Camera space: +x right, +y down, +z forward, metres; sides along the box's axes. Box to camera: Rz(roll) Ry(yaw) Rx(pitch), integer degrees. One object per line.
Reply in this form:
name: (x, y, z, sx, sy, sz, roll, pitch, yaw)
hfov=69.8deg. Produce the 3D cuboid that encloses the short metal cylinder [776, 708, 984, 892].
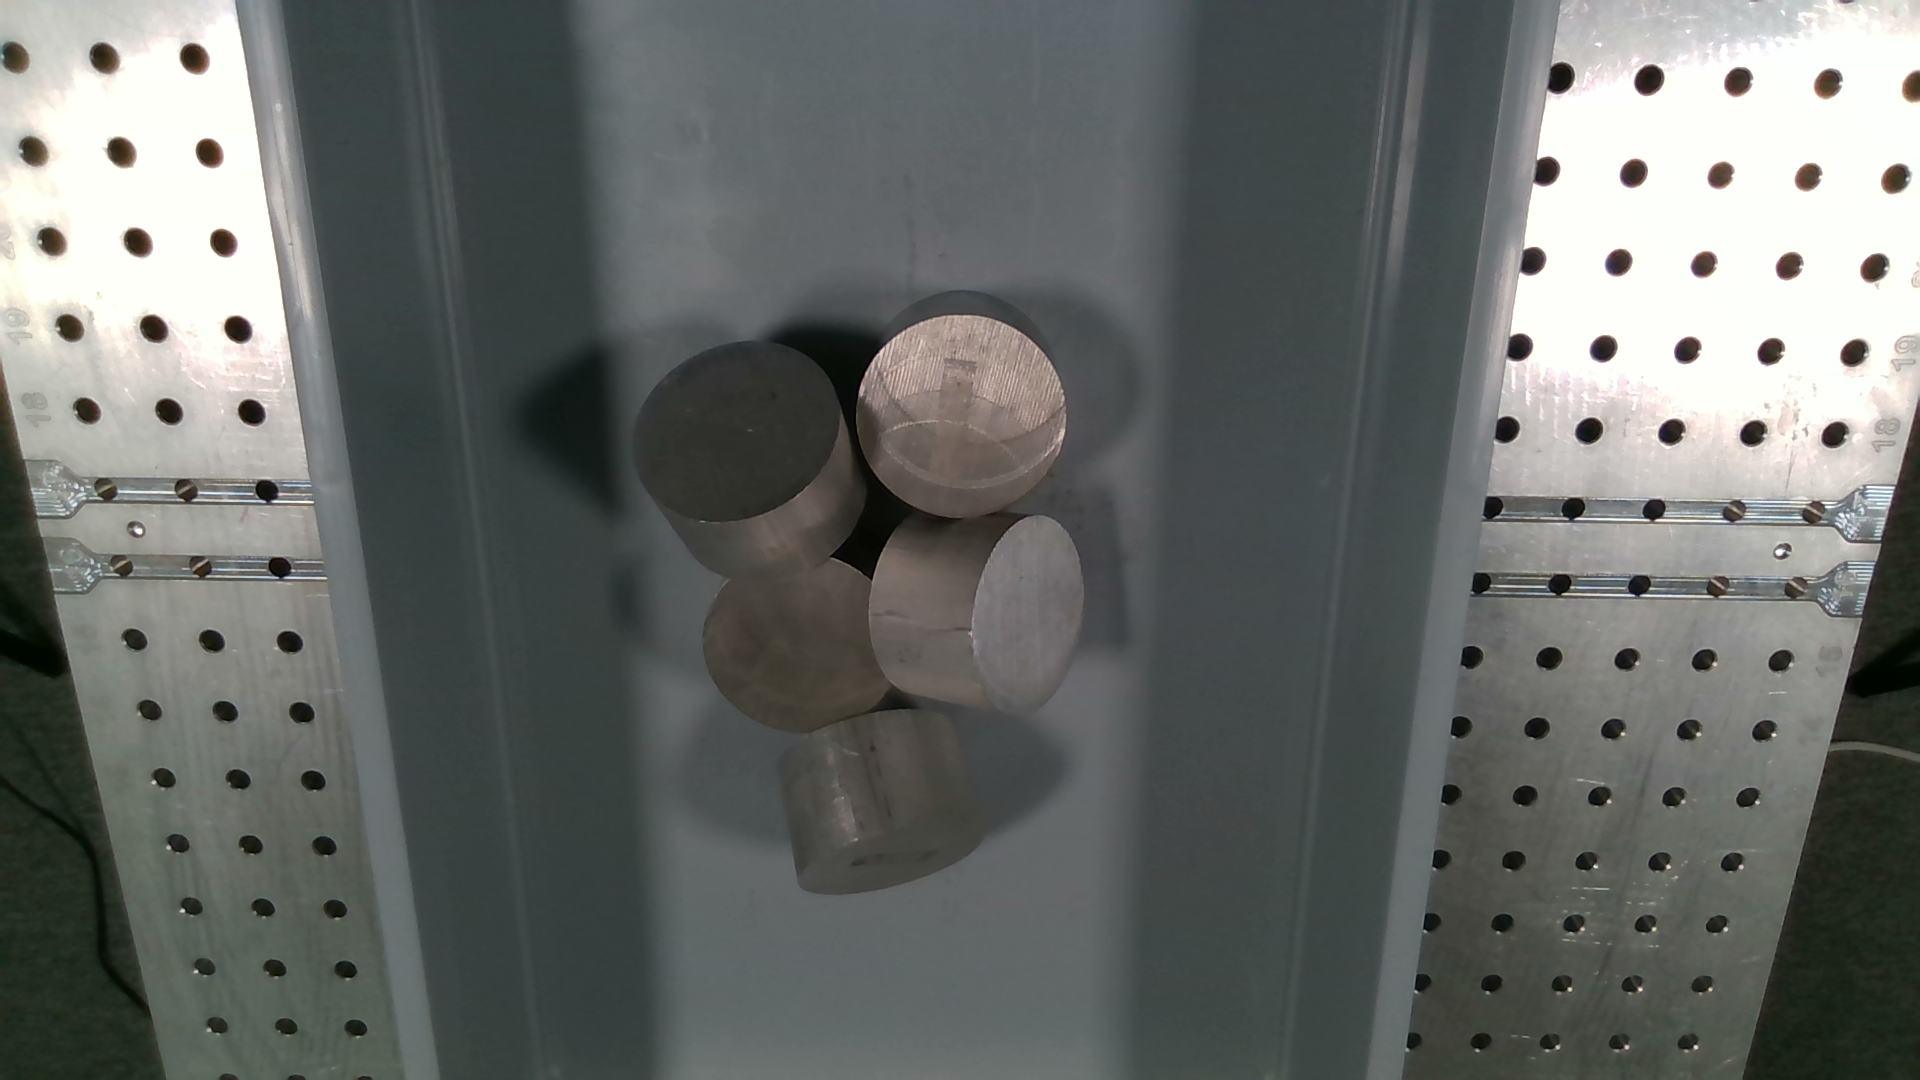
short metal cylinder: (-0.035, 0.113, 0.590, 0.080, 0.050, 0.080, -12, 151, -7)

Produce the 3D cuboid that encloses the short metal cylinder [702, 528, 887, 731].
short metal cylinder: (-0.065, 0.034, 0.583, 0.080, 0.050, 0.080, 0, 110, 0)

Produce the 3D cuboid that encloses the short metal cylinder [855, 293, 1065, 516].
short metal cylinder: (0.000, -0.055, 0.548, 0.080, 0.050, 0.080, 0, 110, 0)

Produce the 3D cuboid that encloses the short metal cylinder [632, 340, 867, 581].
short metal cylinder: (-0.080, -0.030, 0.536, 0.080, 0.080, 0.050, -11, 152, 4)

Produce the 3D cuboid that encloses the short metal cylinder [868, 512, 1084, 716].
short metal cylinder: (0.008, 0.027, 0.556, 0.050, 0.080, 0.080, 7, 115, 36)
